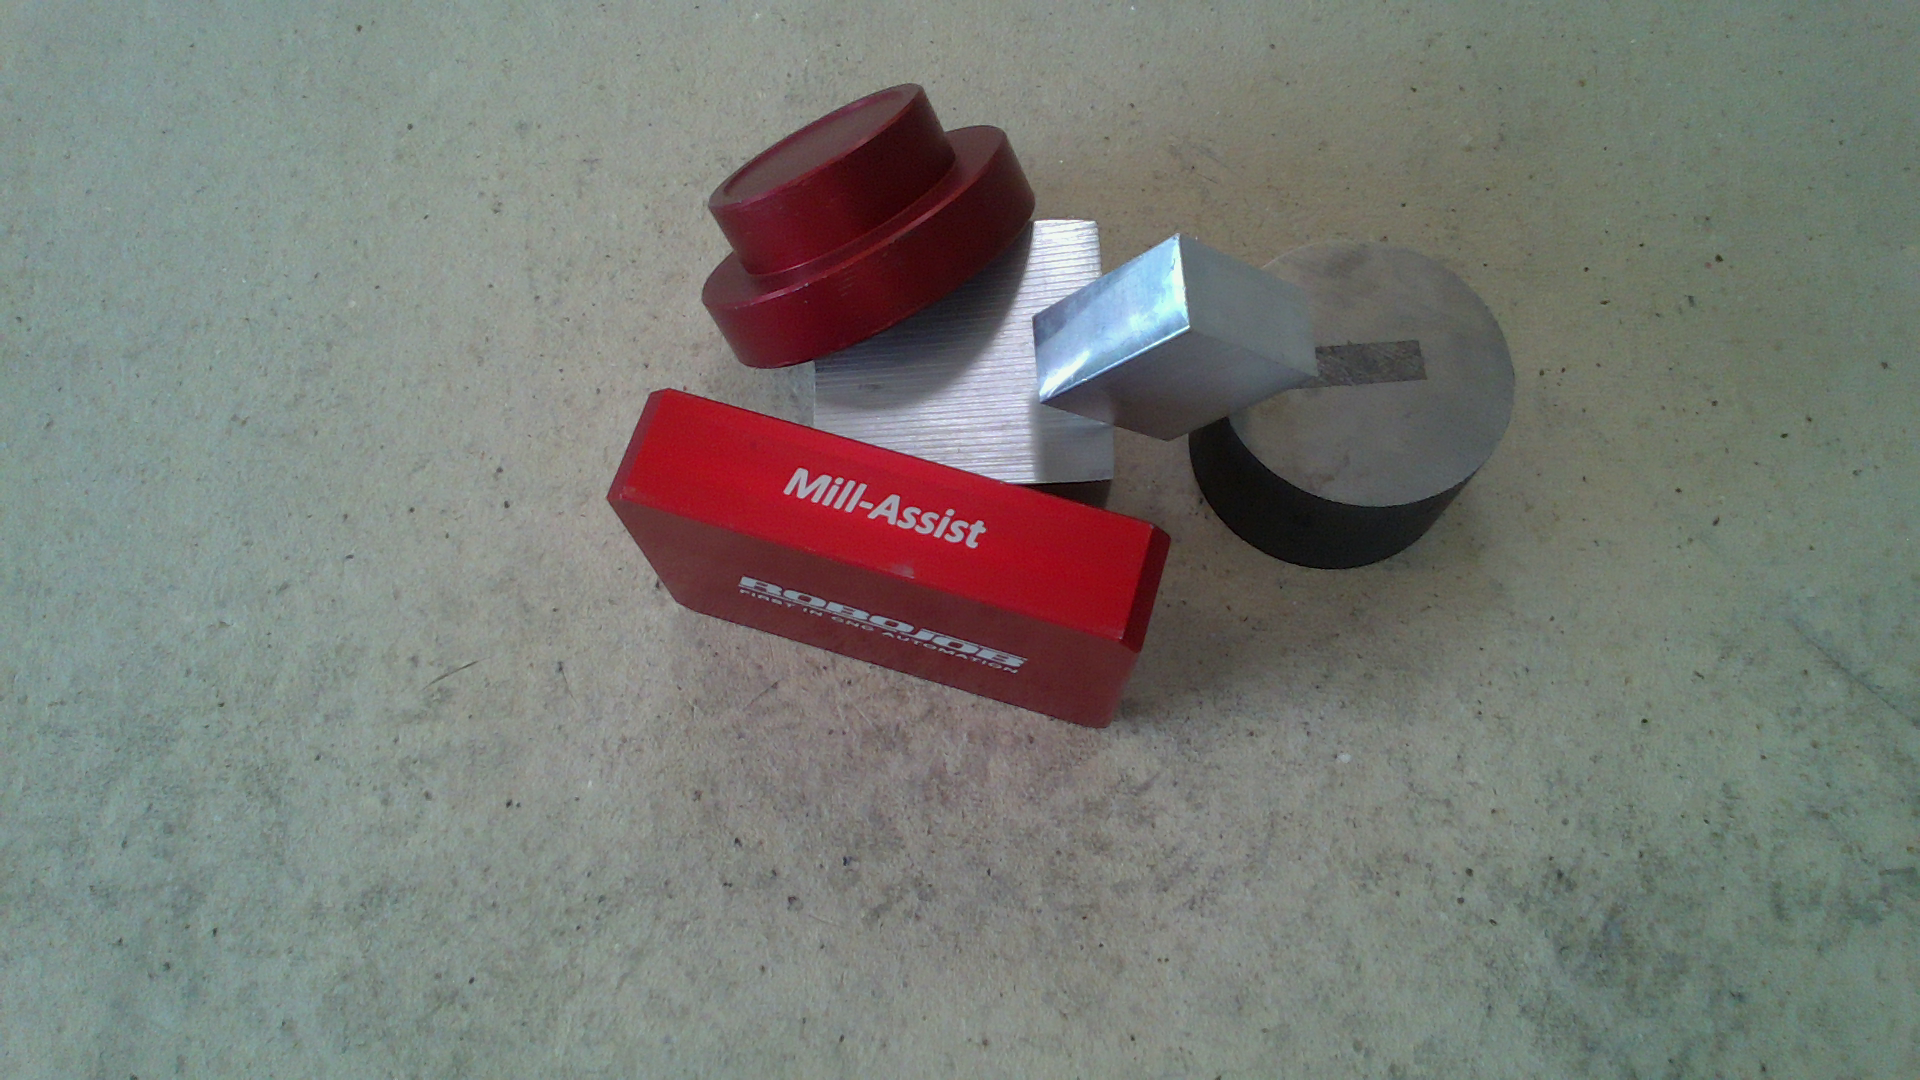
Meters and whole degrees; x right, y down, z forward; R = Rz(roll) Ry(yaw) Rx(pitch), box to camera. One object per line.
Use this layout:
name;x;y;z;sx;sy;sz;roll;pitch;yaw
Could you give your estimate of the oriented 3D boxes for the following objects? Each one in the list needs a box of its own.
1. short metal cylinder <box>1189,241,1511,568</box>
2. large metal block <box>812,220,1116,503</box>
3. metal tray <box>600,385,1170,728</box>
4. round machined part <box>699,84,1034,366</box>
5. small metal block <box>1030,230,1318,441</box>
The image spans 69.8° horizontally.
short metal cylinder;0.109;-0.038;0.396;0.080;0.050;0.080;0;70;0
large metal block;0.000;-0.043;0.399;0.080;0.050;0.080;-1;70;-1
metal tray;-0.017;0.008;0.357;0.130;0.090;0.030;16;71;6
round machined part;-0.032;-0.094;0.389;0.098;0.098;0.042;-35;118;-12
small metal block;0.054;-0.050;0.351;0.050;0.050;0.025;11;67;-40
